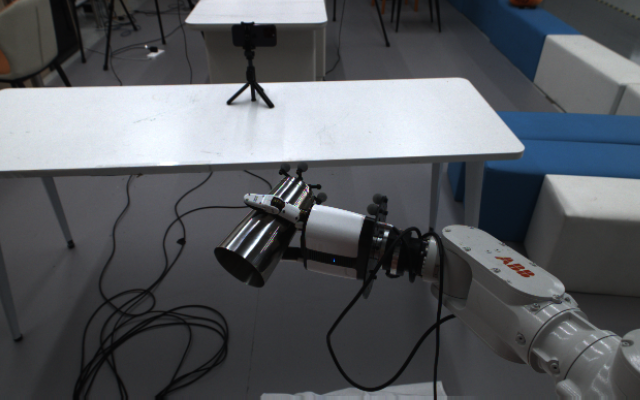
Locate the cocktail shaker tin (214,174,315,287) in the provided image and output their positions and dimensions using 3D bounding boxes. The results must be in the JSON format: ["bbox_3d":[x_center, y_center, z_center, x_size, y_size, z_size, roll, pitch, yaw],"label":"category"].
[{"bbox_3d":[-0.077,0.039,0.762,0.093,0.093,0.170,19,55,23],"label":"cocktail shaker tin"}]
